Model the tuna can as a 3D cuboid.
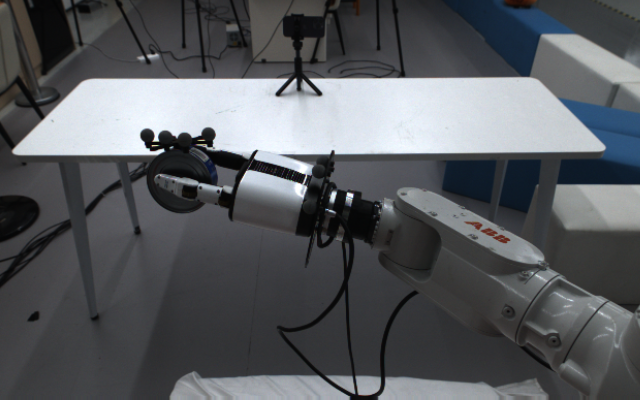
[{"bbox_3d":[-0.176,-0.025,0.636,0.085,0.085,0.034,4,17,2],"label":"tuna can"}]
